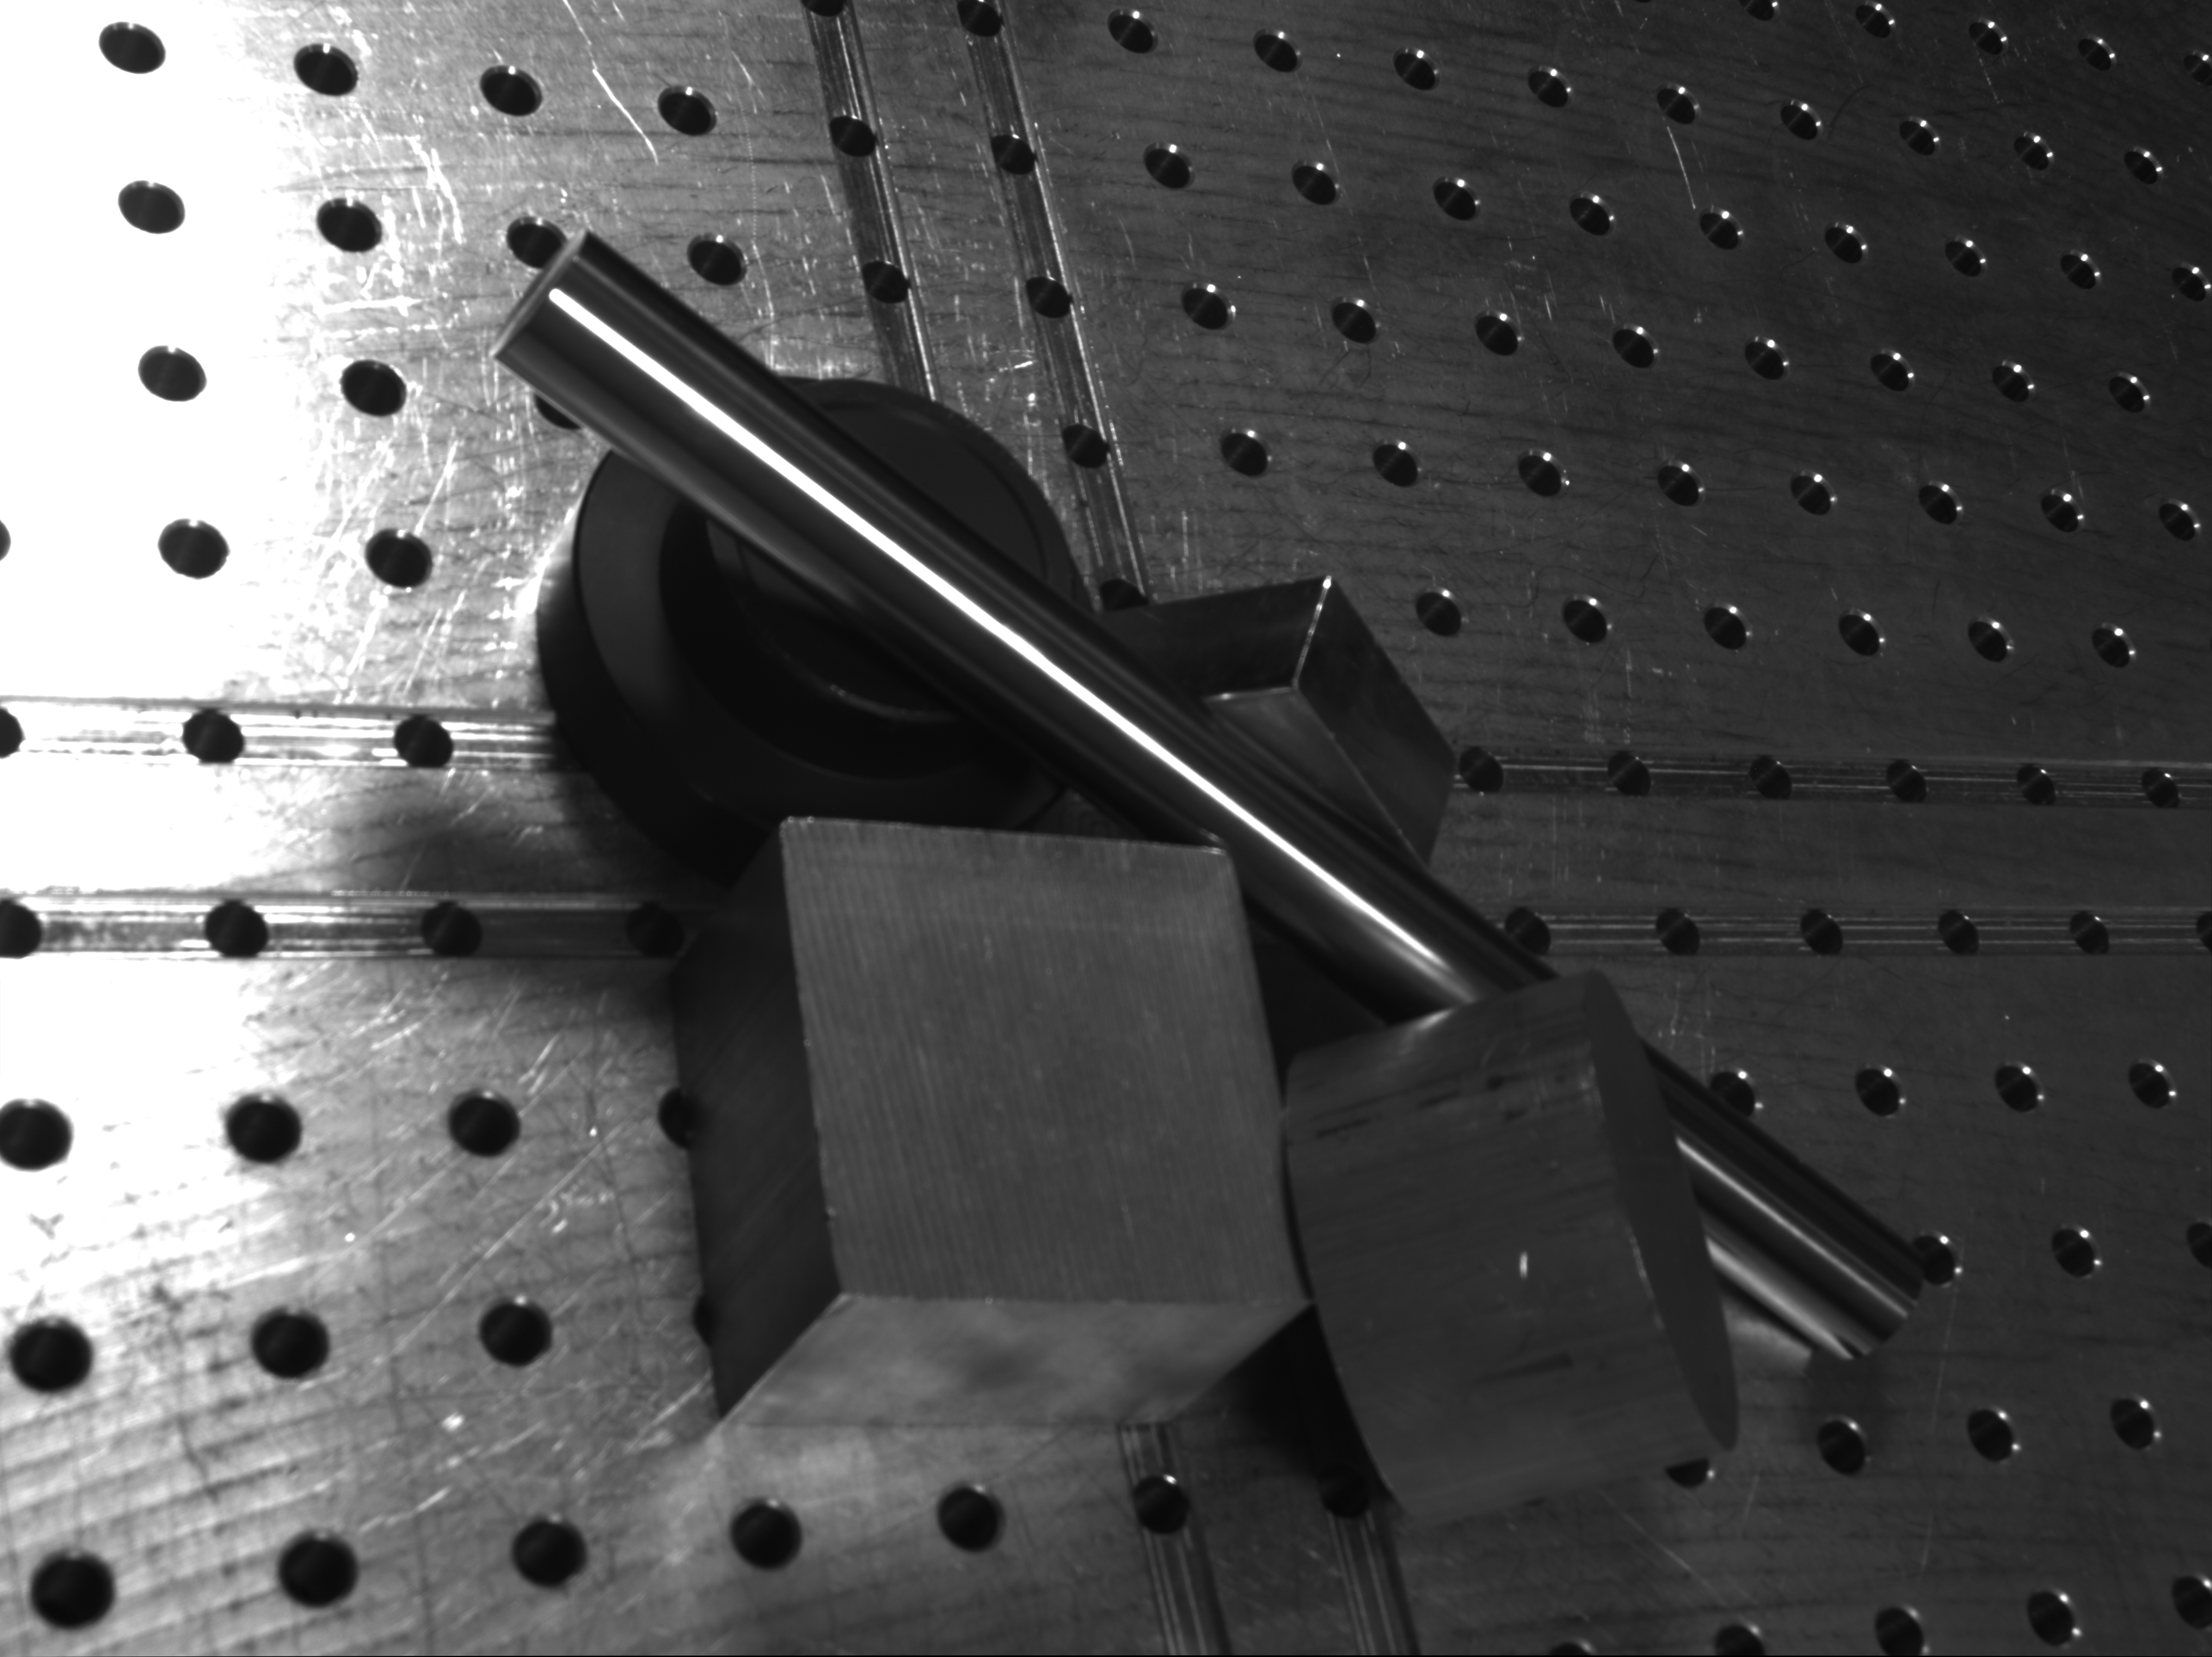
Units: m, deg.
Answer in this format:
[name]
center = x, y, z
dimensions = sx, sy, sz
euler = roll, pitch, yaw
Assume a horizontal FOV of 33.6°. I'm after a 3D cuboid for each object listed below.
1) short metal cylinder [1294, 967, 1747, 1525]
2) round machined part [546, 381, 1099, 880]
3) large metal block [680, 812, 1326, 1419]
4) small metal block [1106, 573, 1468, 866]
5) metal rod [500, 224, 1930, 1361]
[short metal cylinder]
center = 0.068, 0.068, 0.594
dimensions = 0.080, 0.050, 0.080
euler = -17, 90, -76
[round machined part]
center = -0.043, -0.038, 0.632
dimensions = 0.098, 0.042, 0.098
euler = 14, 56, -21
[large metal block]
center = -0.018, 0.047, 0.585
dimensions = 0.080, 0.050, 0.080
euler = 5, 59, -26
[small metal block]
center = 0.028, -0.015, 0.638
dimensions = 0.050, 0.050, 0.025
euler = 51, 45, -38
[metal rod]
center = 0.027, 0.001, 0.615
dimensions = 0.301, 0.025, 0.025
euler = 37, 50, -20
